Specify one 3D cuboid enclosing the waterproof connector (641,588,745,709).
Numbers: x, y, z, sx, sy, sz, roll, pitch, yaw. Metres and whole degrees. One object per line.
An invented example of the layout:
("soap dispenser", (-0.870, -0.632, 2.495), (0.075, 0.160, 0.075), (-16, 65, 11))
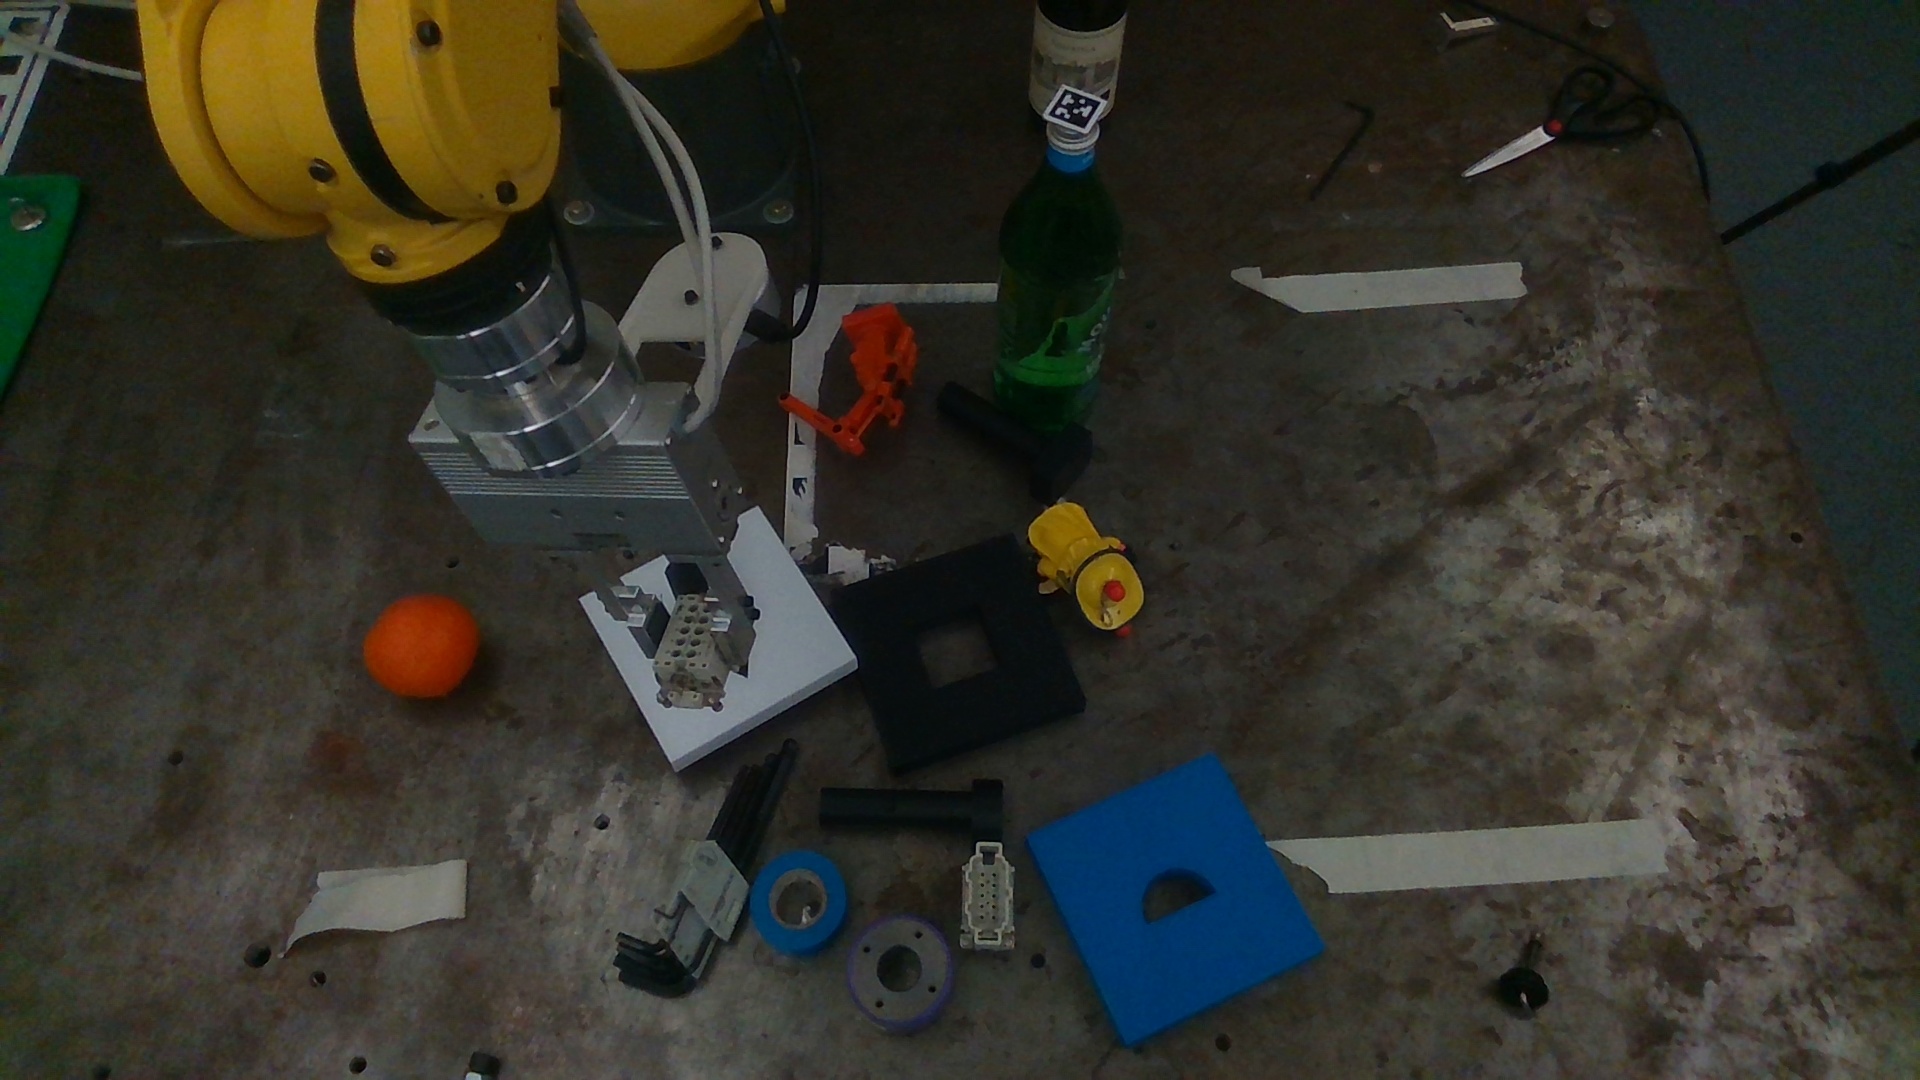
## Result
("waterproof connector", (-0.139, 0.057, 0.733), (0.037, 0.038, 0.069), (1, 54, 19))
